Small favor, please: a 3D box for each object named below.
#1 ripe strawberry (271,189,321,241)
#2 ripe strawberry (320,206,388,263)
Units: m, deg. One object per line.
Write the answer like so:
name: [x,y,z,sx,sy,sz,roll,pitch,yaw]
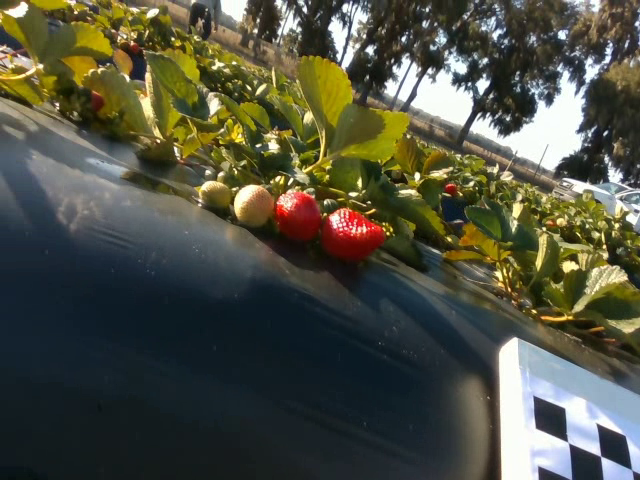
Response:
ripe strawberry: [-0.018,-0.022,0.485,0.050,0.044,0.061,44,2,6]
ripe strawberry: [0.032,-0.003,0.491,0.056,0.052,0.067,-20,13,-38]
